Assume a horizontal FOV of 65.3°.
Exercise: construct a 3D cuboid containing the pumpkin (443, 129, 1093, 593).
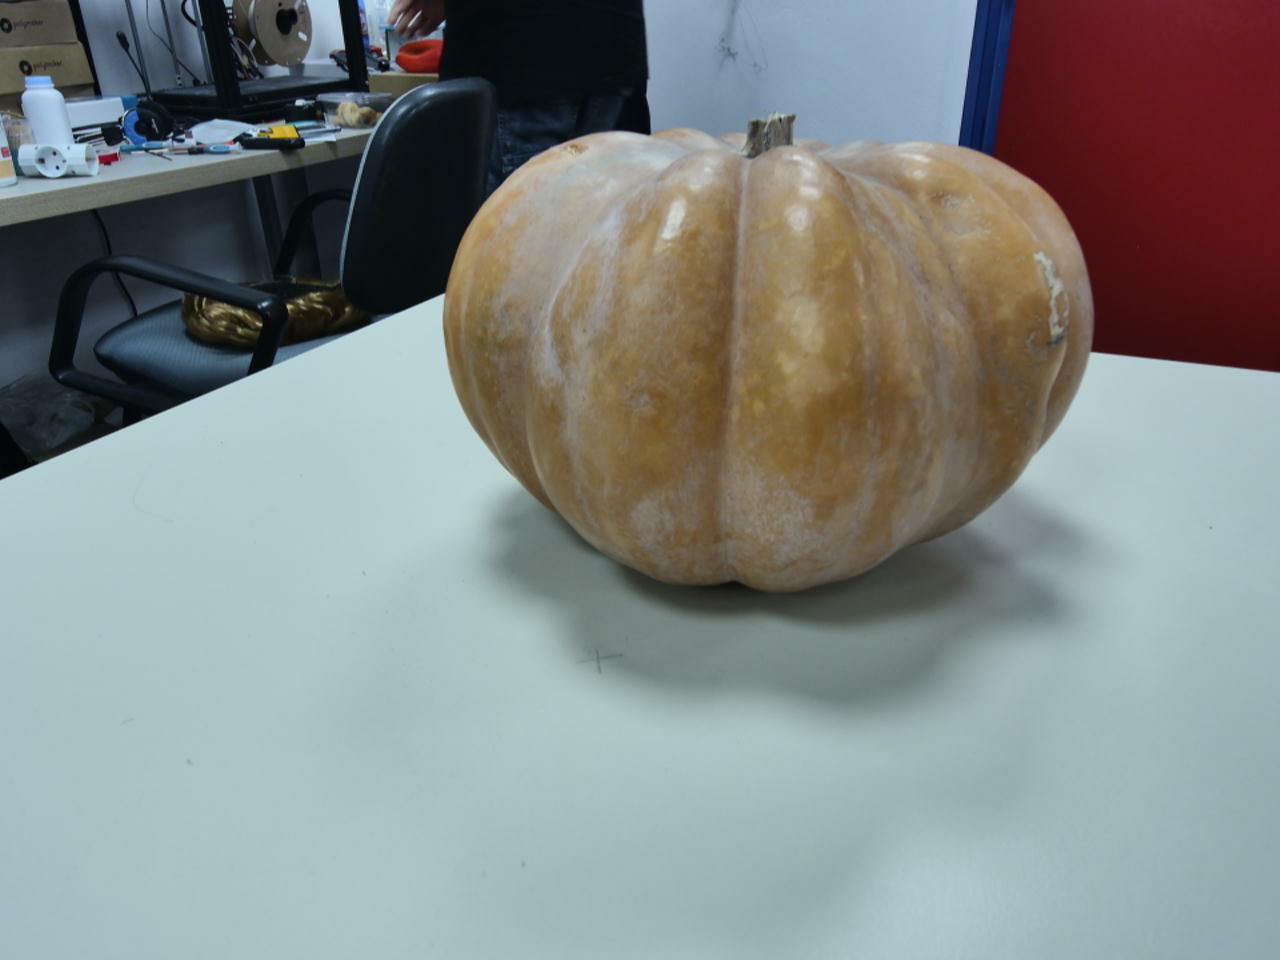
[{"bbox_3d":[0.048,-0.063,0.437,0.277,0.181,0.277,0,24,0],"label":"pumpkin"}]
